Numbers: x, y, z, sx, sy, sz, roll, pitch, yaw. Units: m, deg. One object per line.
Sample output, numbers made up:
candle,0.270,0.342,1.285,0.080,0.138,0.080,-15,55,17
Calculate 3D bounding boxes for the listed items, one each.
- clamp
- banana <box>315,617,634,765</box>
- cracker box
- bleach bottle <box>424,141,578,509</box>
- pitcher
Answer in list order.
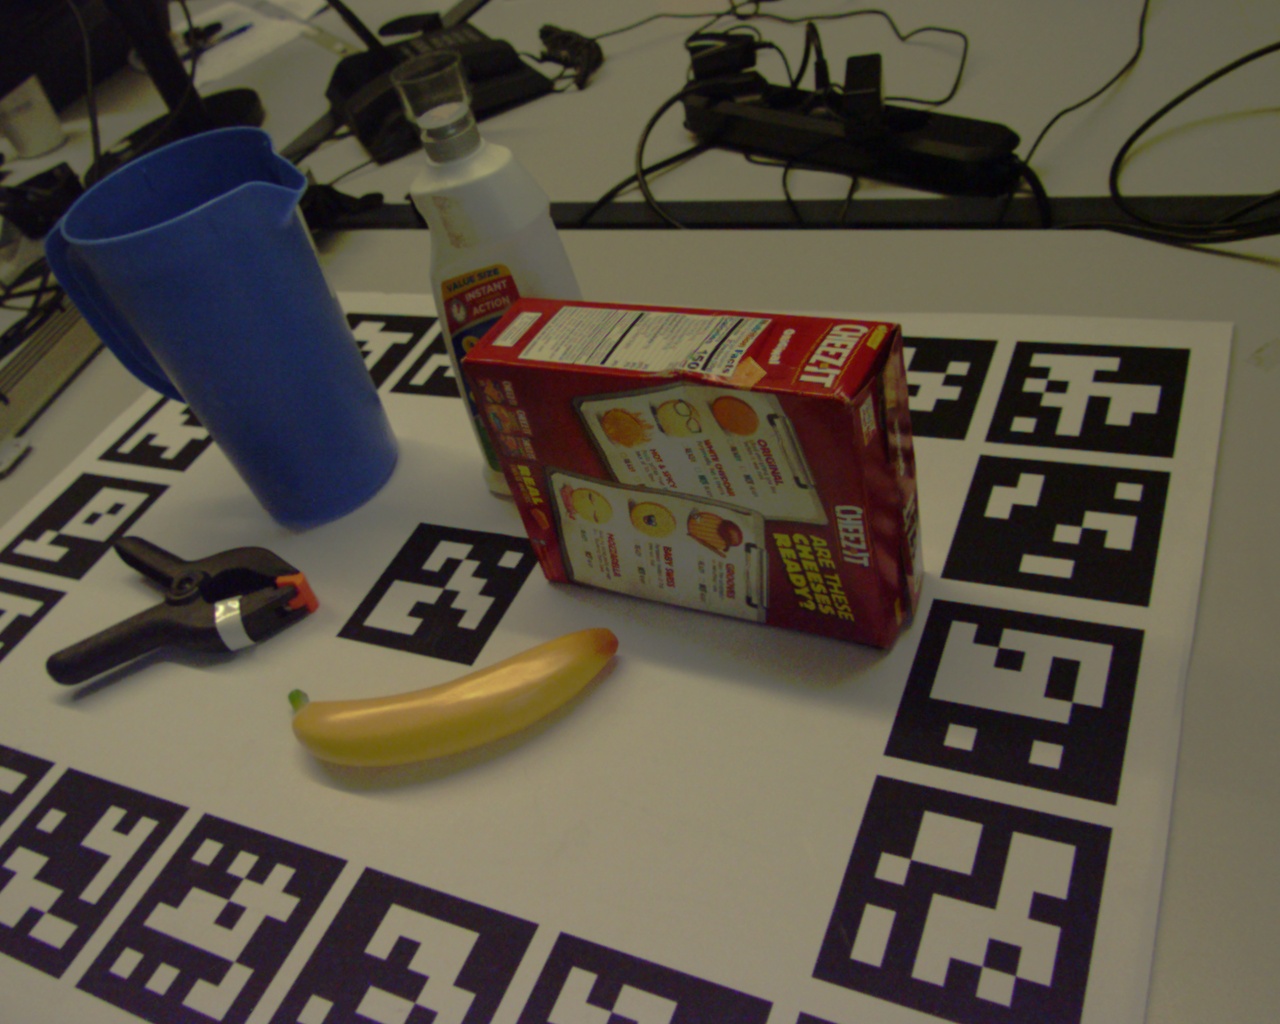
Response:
clamp,-0.285,0.061,0.768,0.166,0.036,0.122,-4,40,13
banana,-0.095,0.106,0.658,0.197,0.038,0.075,-17,39,1
cracker box,0.032,-0.027,0.630,0.216,0.163,0.071,7,42,29
bleach bottle,-0.084,-0.113,0.731,0.104,0.249,0.067,6,44,27
pitcher,-0.272,-0.120,0.779,0.190,0.241,0.133,-5,40,11
